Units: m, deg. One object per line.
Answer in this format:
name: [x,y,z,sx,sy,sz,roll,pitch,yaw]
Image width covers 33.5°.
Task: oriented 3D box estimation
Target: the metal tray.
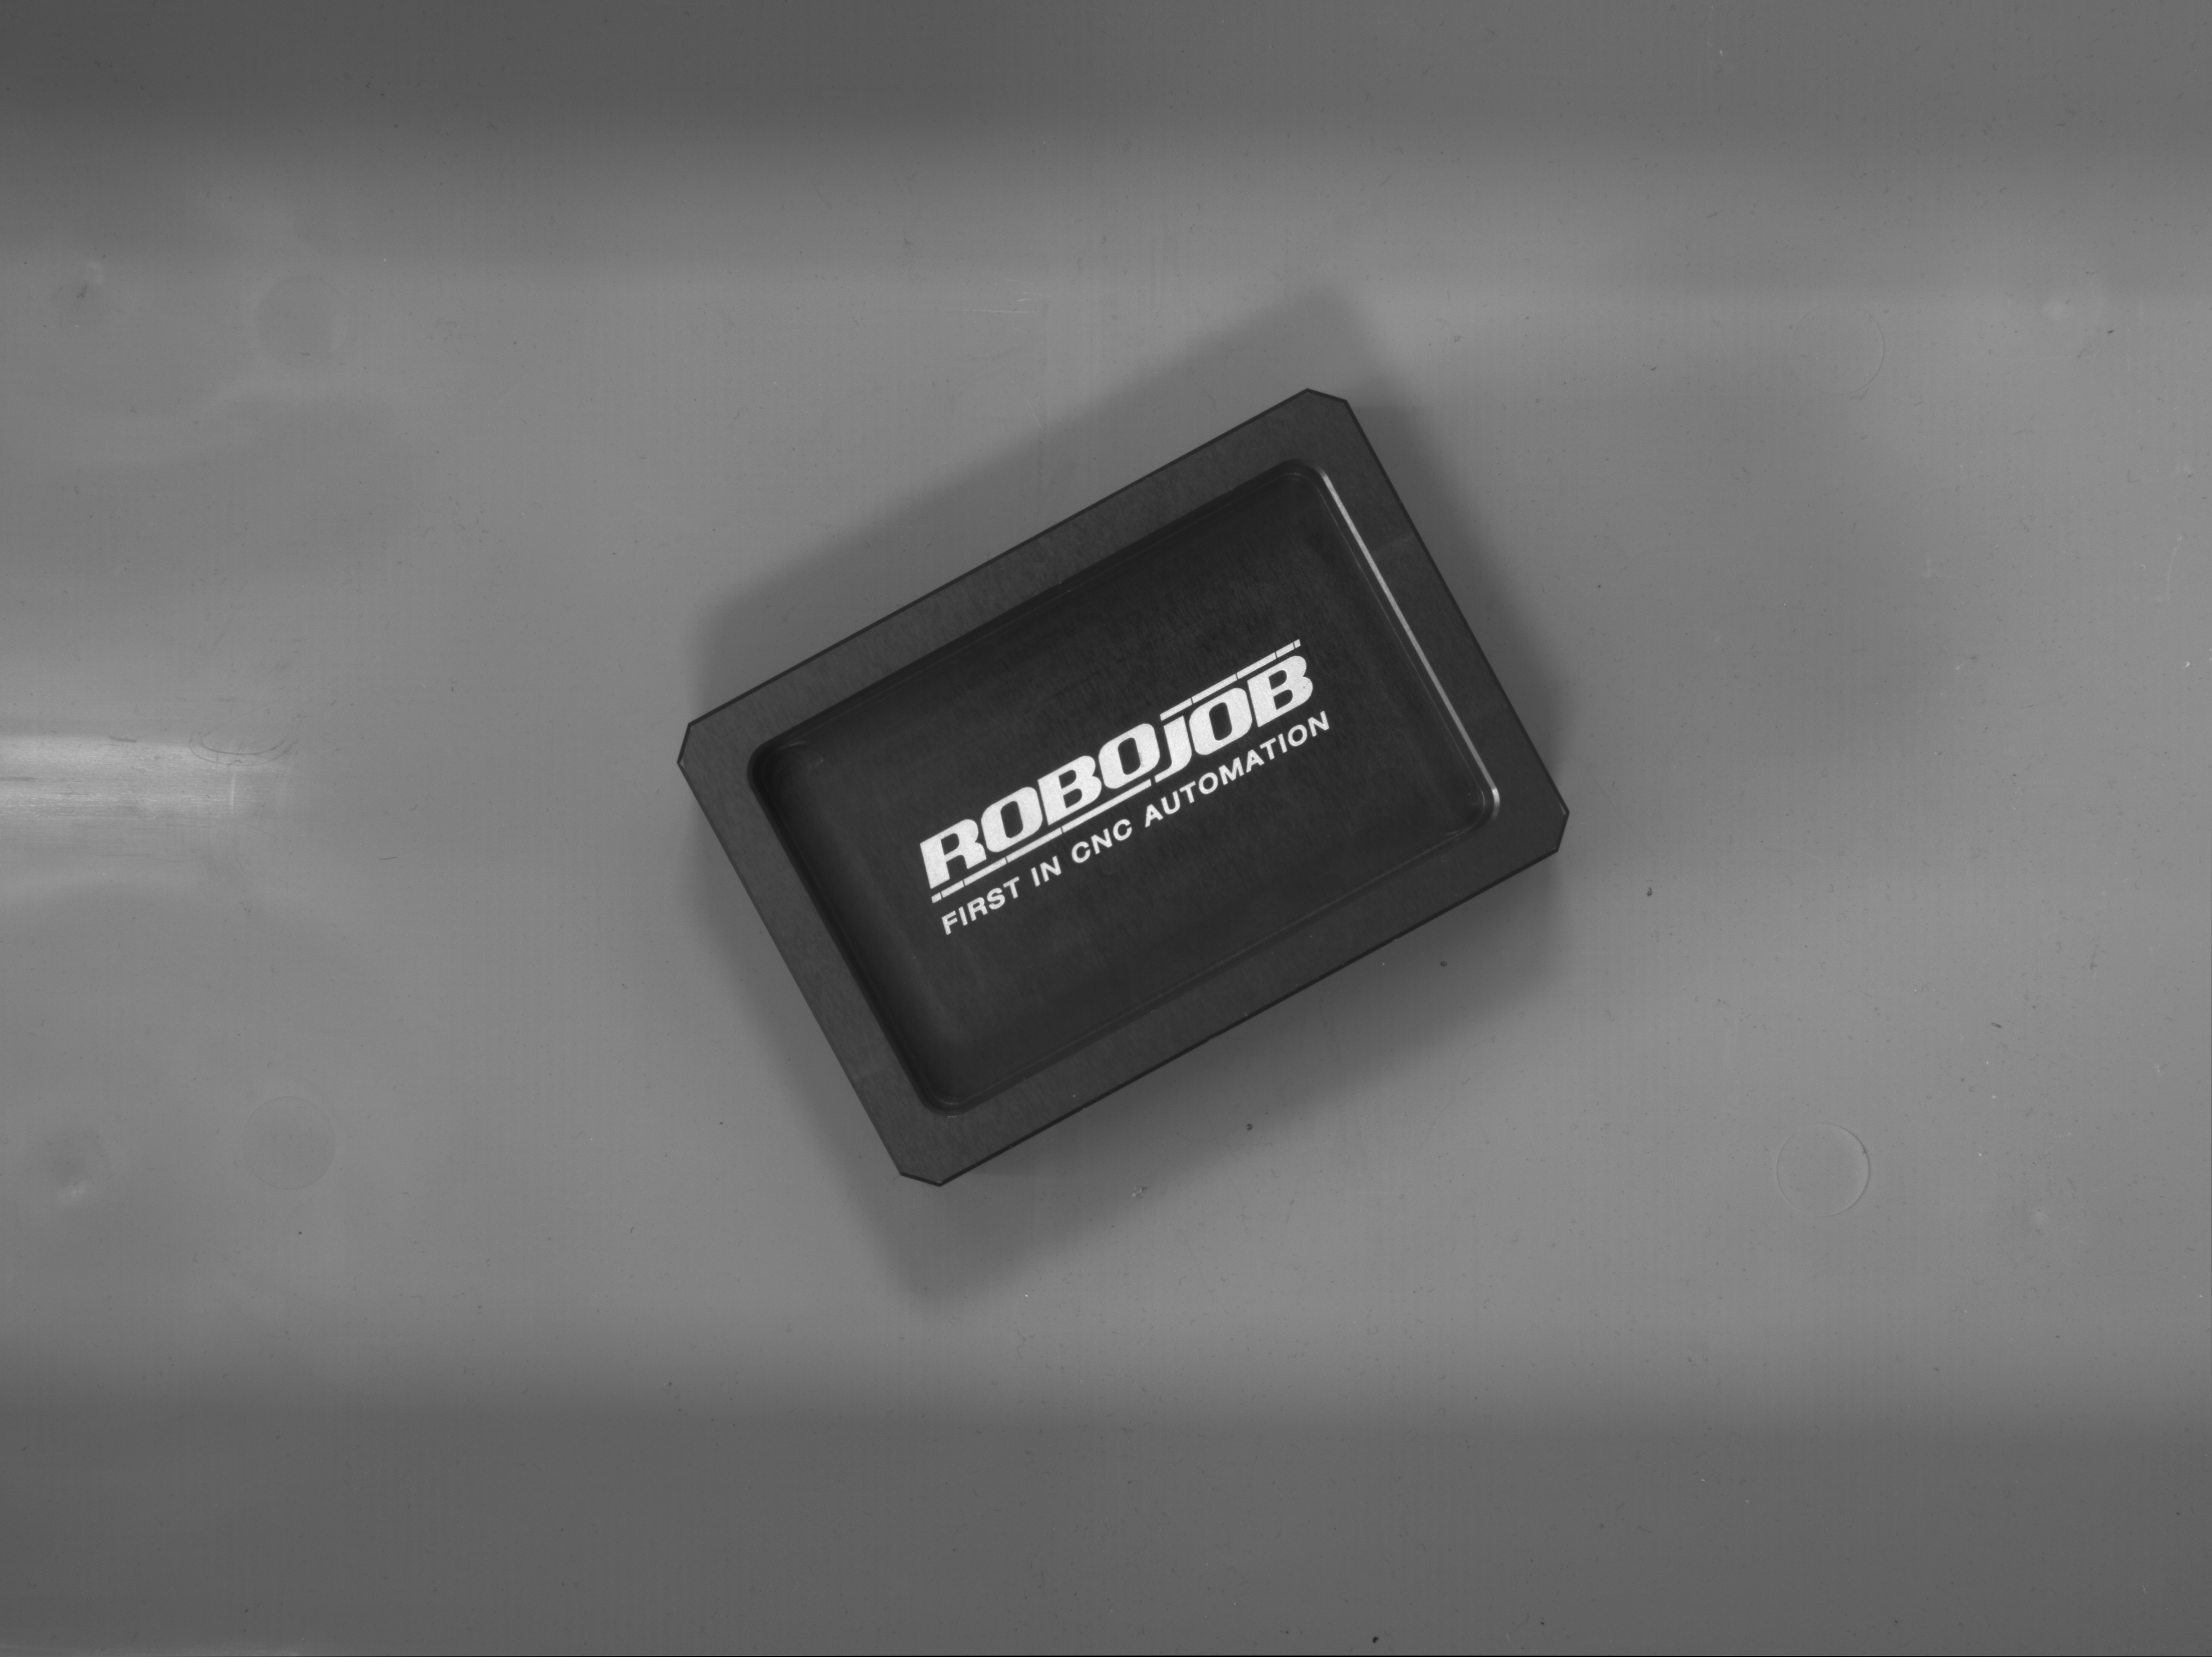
metal tray: [0.003,-0.007,0.641,0.130,0.030,0.090,-29,90,0]
